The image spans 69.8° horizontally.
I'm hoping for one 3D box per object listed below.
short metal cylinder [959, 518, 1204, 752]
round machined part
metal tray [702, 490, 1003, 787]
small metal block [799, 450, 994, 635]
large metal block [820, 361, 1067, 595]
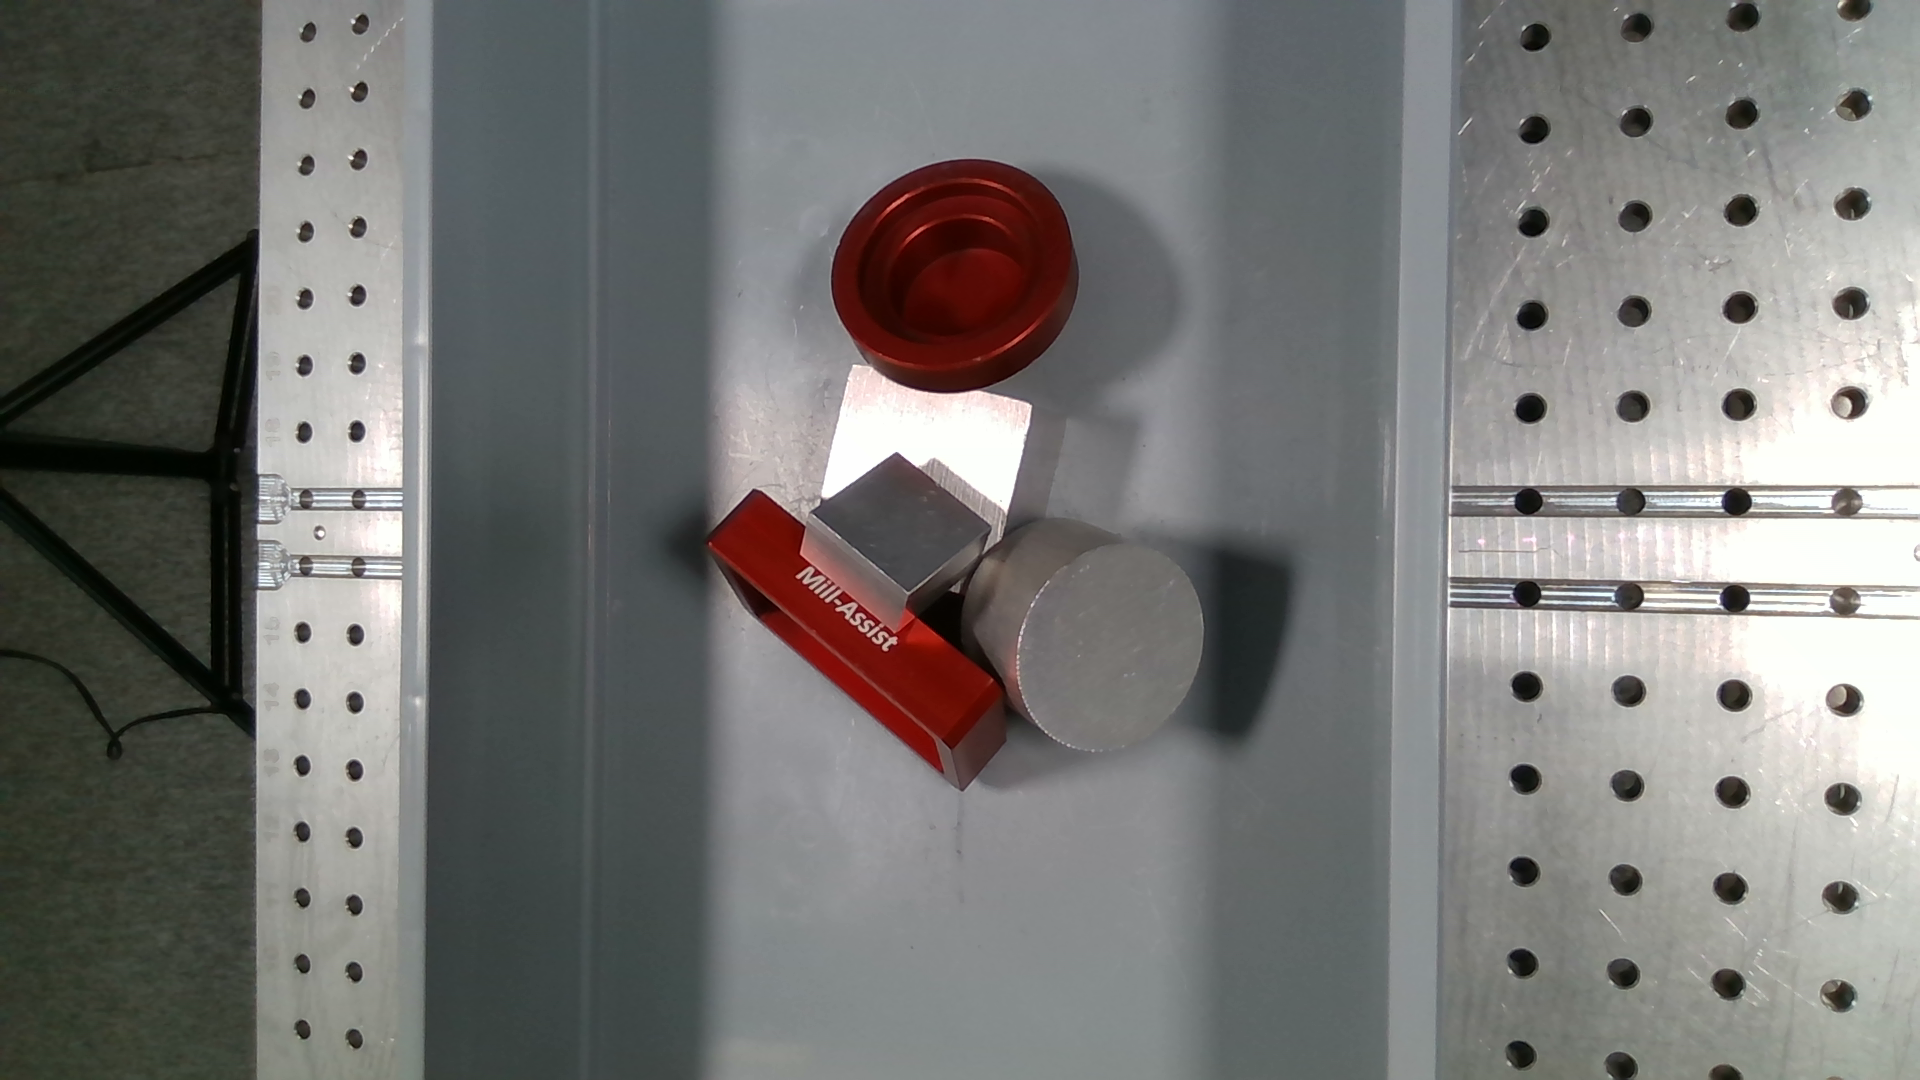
[{"bbox_3d":[0.046,0.035,0.531,0.050,0.080,0.080,27,103,63],"label":"short metal cylinder"},{"bbox_3d":[0.000,-0.102,0.562,0.098,0.042,0.098,-5,66,13],"label":"round machined part"},{"bbox_3d":[-0.041,0.043,0.564,0.130,0.090,0.030,38,75,16],"label":"metal tray"},{"bbox_3d":[-0.024,0.000,0.525,0.050,0.050,0.025,39,141,16],"label":"small metal block"},{"bbox_3d":[-0.009,-0.024,0.574,0.080,0.050,0.080,15,96,20],"label":"large metal block"}]
